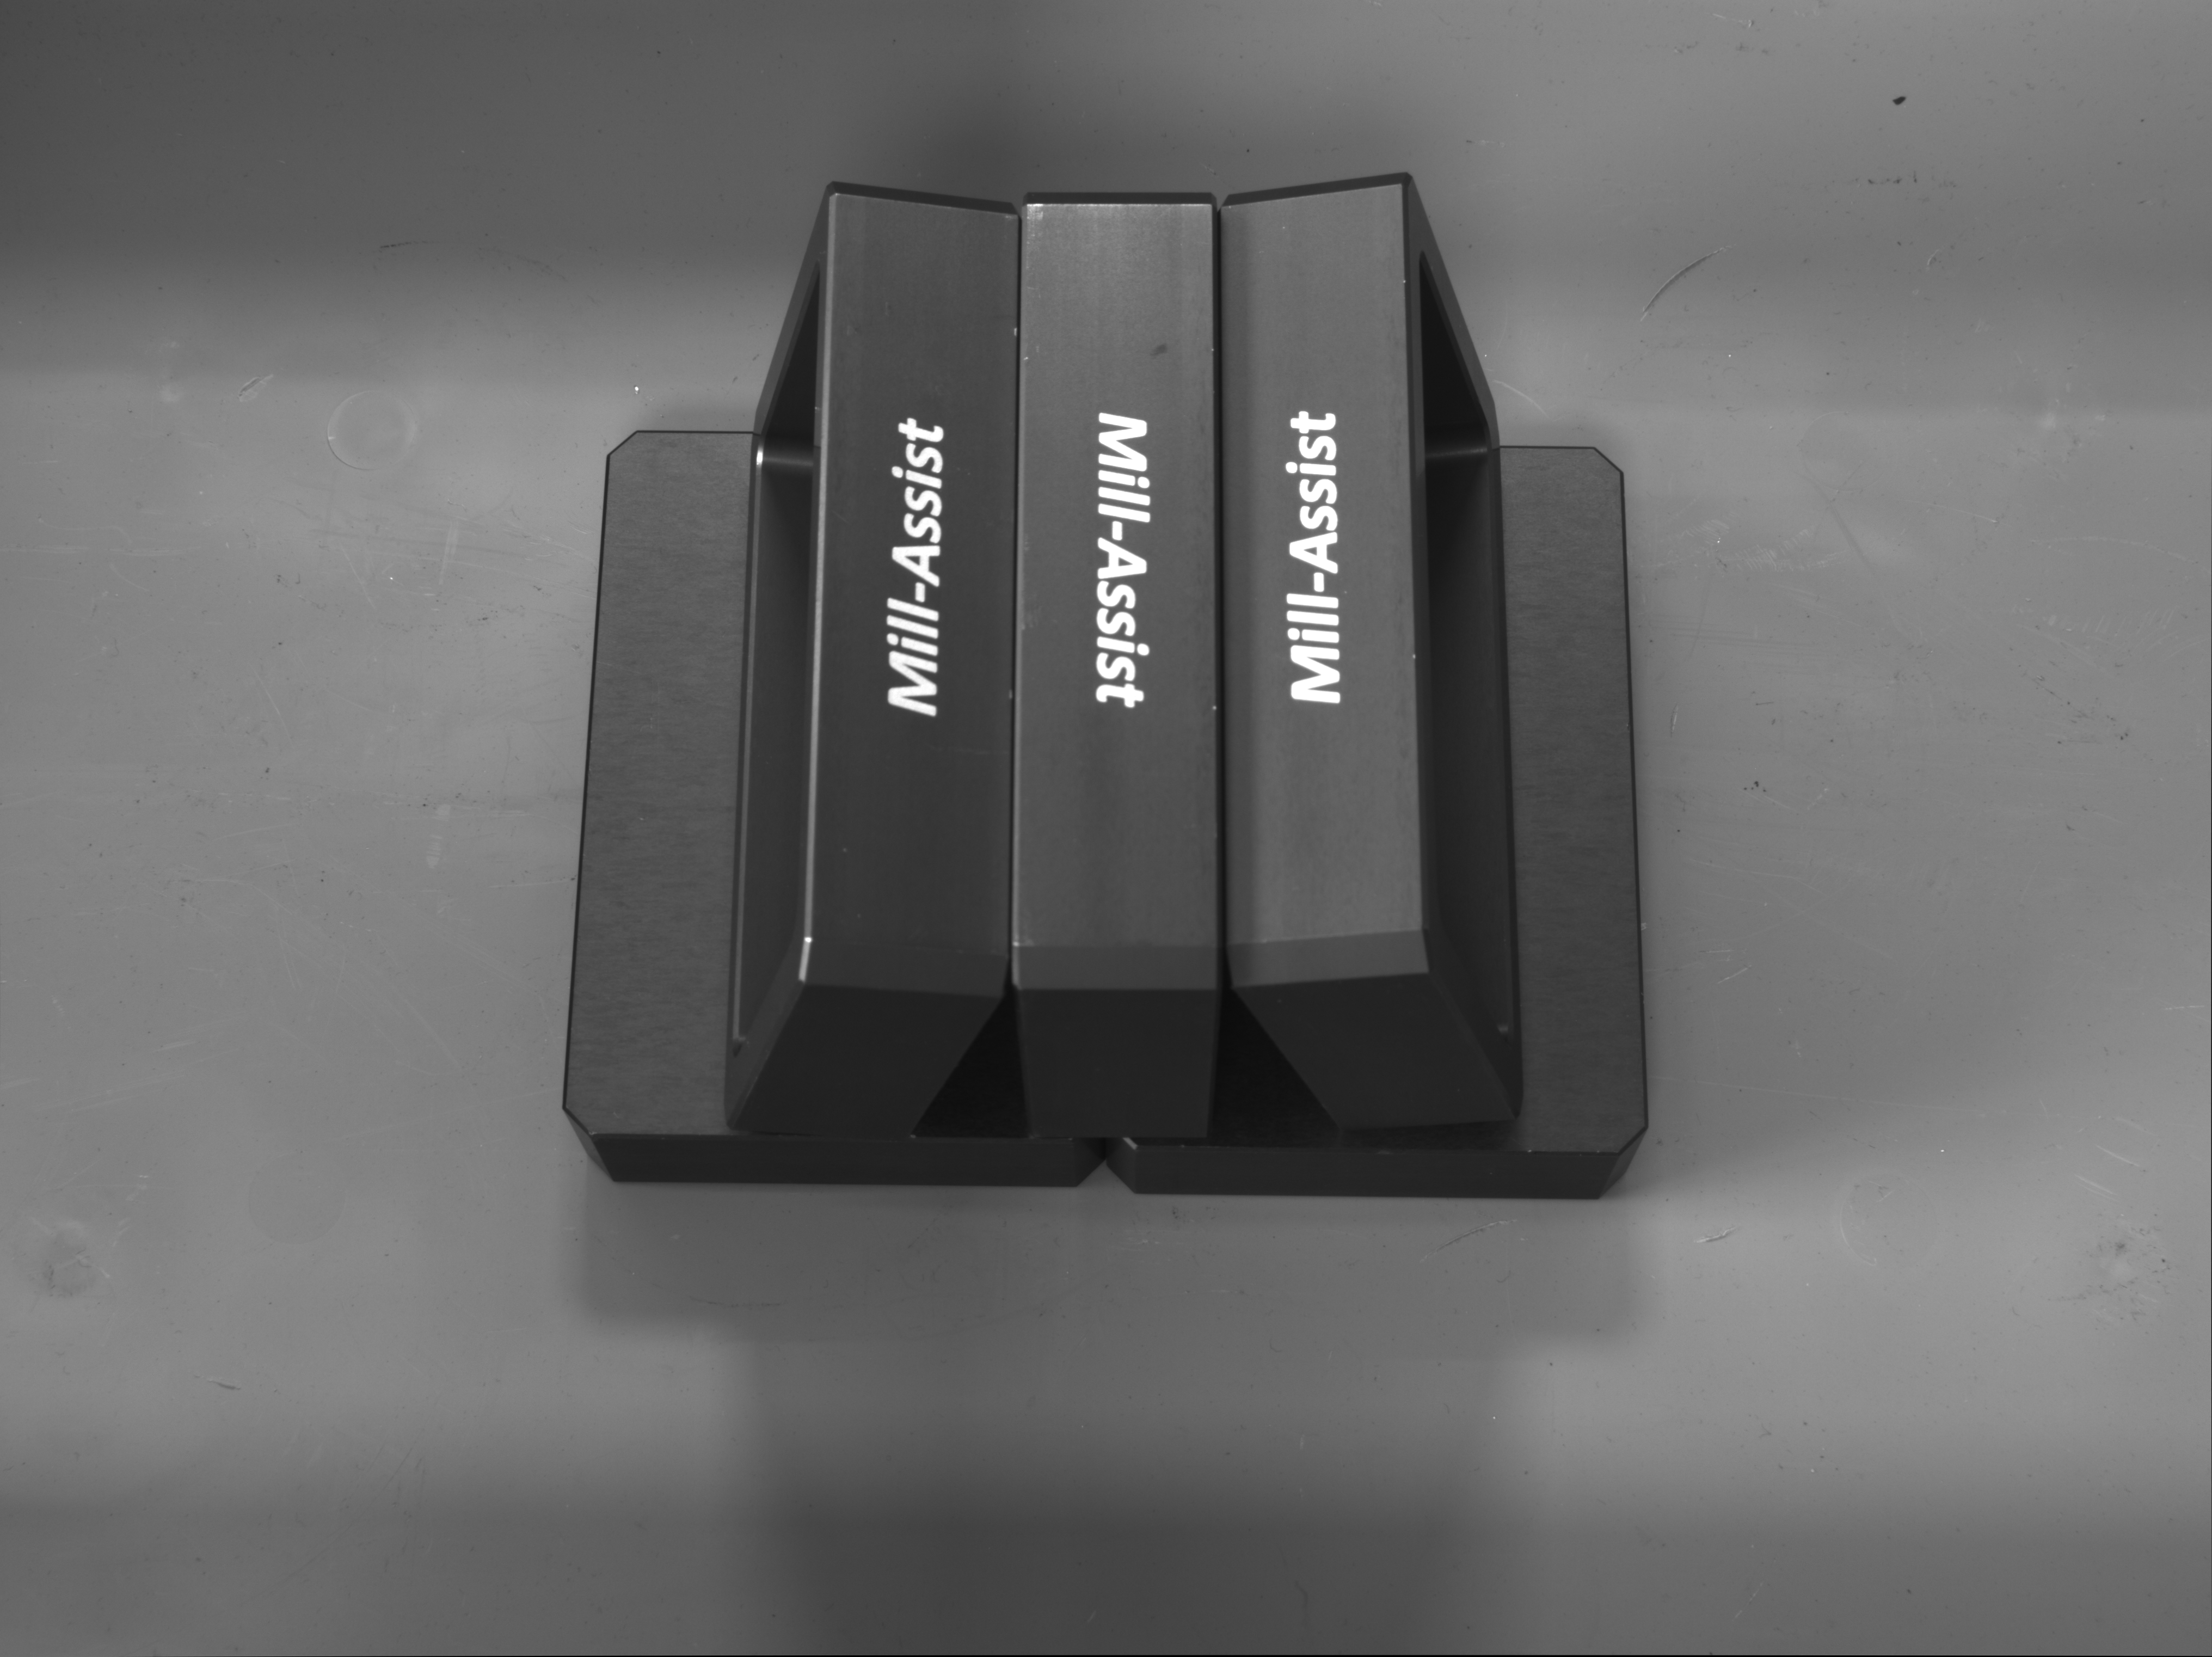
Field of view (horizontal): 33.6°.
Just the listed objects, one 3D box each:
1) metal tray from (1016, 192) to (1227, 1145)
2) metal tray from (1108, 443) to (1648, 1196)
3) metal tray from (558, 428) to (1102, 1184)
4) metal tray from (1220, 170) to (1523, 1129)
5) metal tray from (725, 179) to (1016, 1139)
[{"bbox_3d":[0.003,-0.024,0.584,0.030,0.090,0.130,0,68,0],"label":"metal tray"},{"bbox_3d":[0.046,-0.003,0.642,0.090,0.030,0.130,1,70,0],"label":"metal tray"},{"bbox_3d":[-0.045,-0.005,0.642,0.090,0.030,0.130,1,70,0],"label":"metal tray"},{"bbox_3d":[0.043,-0.026,0.584,0.030,0.090,0.130,-5,69,14],"label":"metal tray"},{"bbox_3d":[-0.038,-0.025,0.583,0.030,0.090,0.130,5,69,-11],"label":"metal tray"}]
